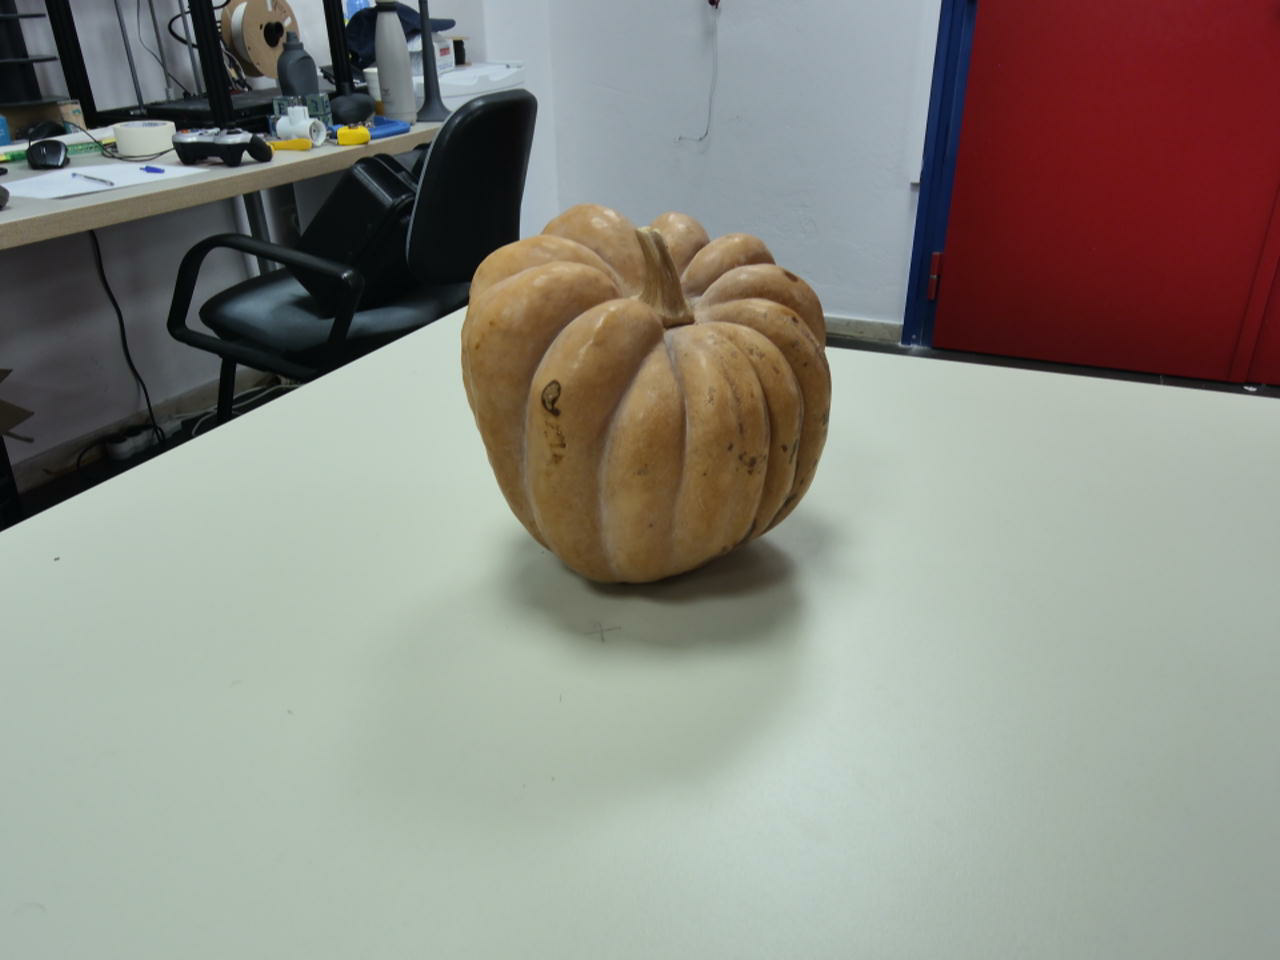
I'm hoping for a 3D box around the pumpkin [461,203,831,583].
[{"bbox_3d":[0.002,-0.045,0.514,0.199,0.177,0.198,0,25,0],"label":"pumpkin"}]
